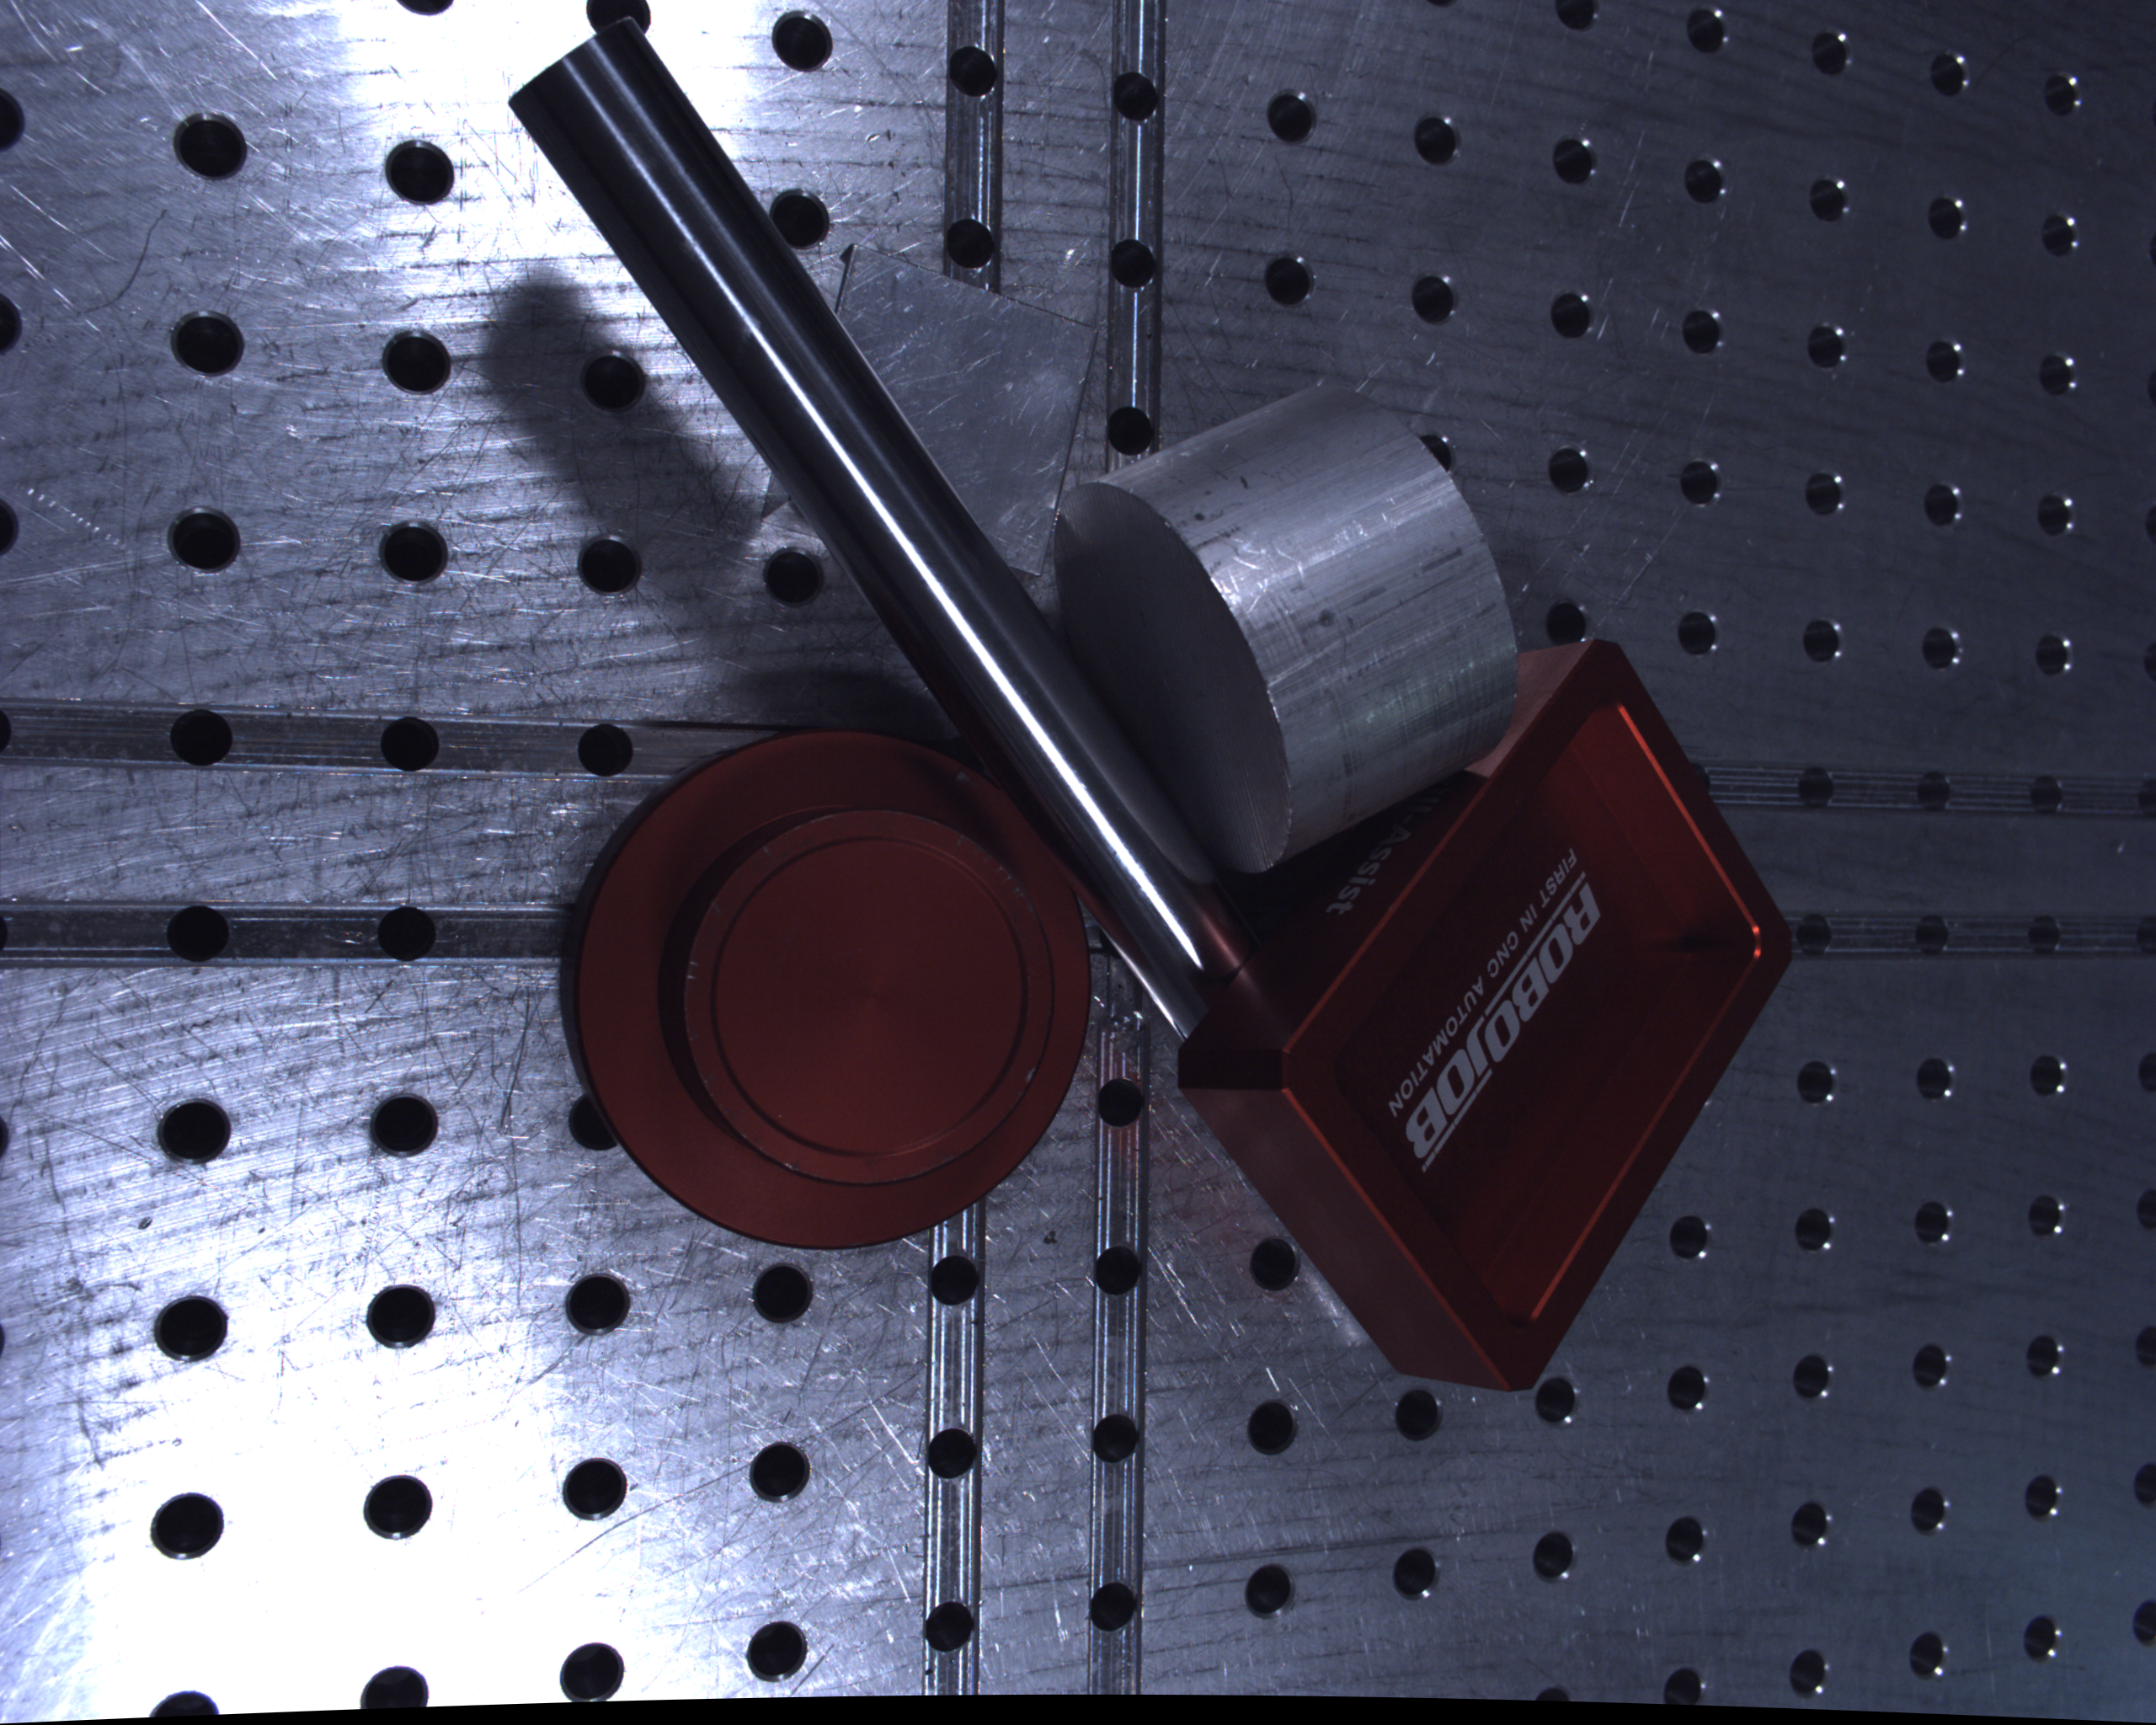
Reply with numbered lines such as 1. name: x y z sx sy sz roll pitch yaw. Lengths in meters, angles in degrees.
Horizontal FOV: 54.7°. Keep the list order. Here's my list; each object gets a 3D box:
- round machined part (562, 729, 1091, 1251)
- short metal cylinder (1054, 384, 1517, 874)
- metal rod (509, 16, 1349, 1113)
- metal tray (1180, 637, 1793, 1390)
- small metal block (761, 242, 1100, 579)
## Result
1. round machined part: -0.043 0.024 0.387 0.099 0.042 0.097 0 90 -21
2. short metal cylinder: 0.038 -0.044 0.398 0.050 0.080 0.080 -27 99 -18
3. metal rod: -0.001 -0.018 0.395 0.025 0.025 0.299 -42 111 -15
4. metal tray: 0.088 0.028 0.421 0.130 0.030 0.090 -49 113 -29
5. small metal block: -0.029 -0.085 0.403 0.050 0.025 0.050 14 85 -20
